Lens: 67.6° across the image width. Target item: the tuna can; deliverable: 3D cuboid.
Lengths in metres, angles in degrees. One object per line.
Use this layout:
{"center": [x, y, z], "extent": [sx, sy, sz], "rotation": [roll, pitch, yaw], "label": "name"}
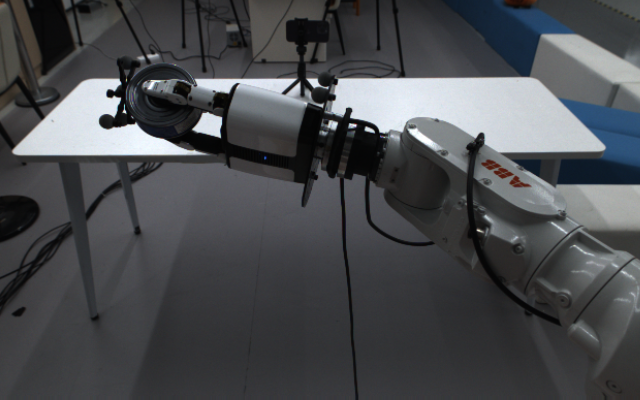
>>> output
{"center": [-0.182, -0.116, 0.576], "extent": [0.085, 0.034, 0.085], "rotation": [1, 75, -5], "label": "tuna can"}
